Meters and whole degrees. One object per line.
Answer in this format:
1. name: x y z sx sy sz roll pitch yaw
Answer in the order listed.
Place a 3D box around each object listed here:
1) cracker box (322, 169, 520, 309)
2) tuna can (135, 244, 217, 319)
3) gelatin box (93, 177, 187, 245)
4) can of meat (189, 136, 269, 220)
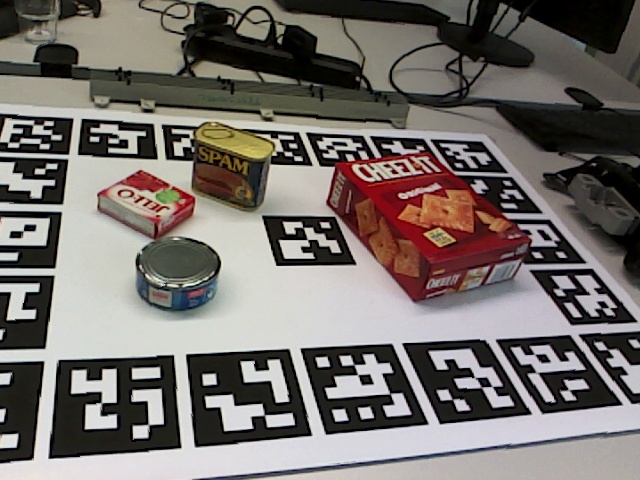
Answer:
1. cracker box: 0.130 -0.013 0.824 0.163 0.072 0.215 -10 40 -32
2. tuna can: -0.156 0.044 0.669 0.085 0.033 0.086 8 39 -7
3. gelatin box: -0.224 -0.039 0.771 0.090 0.030 0.073 27 34 15
4. can of meat: -0.125 -0.082 0.829 0.102 0.083 0.058 17 35 8
